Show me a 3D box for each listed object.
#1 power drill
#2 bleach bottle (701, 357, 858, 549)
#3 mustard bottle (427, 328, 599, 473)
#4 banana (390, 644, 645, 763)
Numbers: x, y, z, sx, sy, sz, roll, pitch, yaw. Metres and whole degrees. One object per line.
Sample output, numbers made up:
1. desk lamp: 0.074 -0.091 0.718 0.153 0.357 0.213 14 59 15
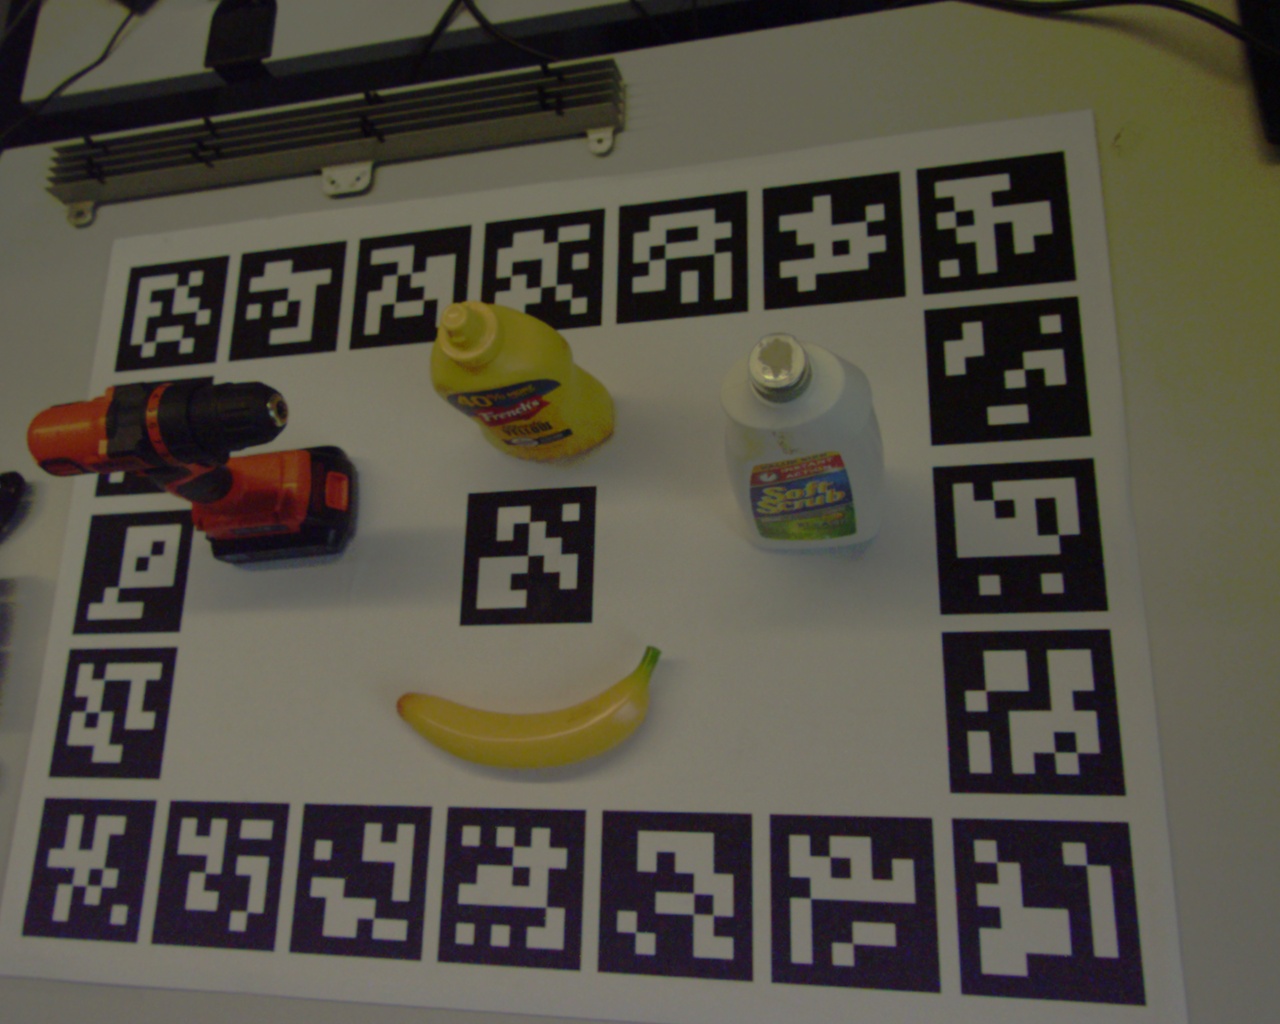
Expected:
1. power drill: -0.288 -0.036 0.815 0.186 0.185 0.057 -9 73 17
2. bleach bottle: 0.080 -0.037 0.709 0.103 0.248 0.068 6 77 16
3. mustard bottle: -0.097 -0.082 0.806 0.097 0.190 0.058 -10 73 10
4. banana: -0.088 0.141 0.812 0.199 0.038 0.074 -9 75 16
